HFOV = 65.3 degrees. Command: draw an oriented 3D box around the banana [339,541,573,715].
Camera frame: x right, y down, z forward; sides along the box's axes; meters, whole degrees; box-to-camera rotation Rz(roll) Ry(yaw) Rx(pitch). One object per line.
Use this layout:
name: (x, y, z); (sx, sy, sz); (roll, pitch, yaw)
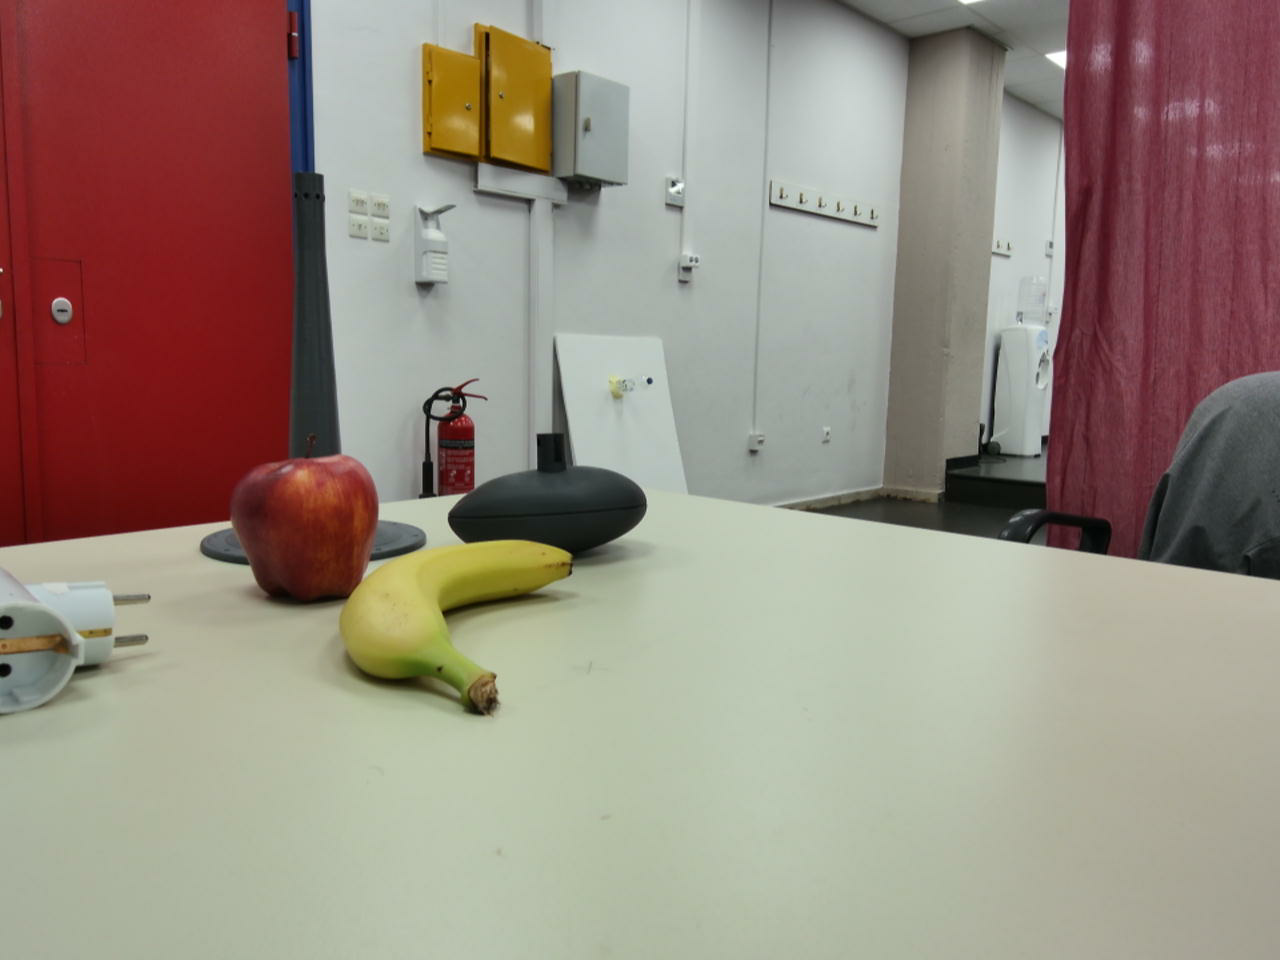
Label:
banana: (-0.094, 0.060, 0.488); (0.094, 0.041, 0.196); (2, 6, 6)
